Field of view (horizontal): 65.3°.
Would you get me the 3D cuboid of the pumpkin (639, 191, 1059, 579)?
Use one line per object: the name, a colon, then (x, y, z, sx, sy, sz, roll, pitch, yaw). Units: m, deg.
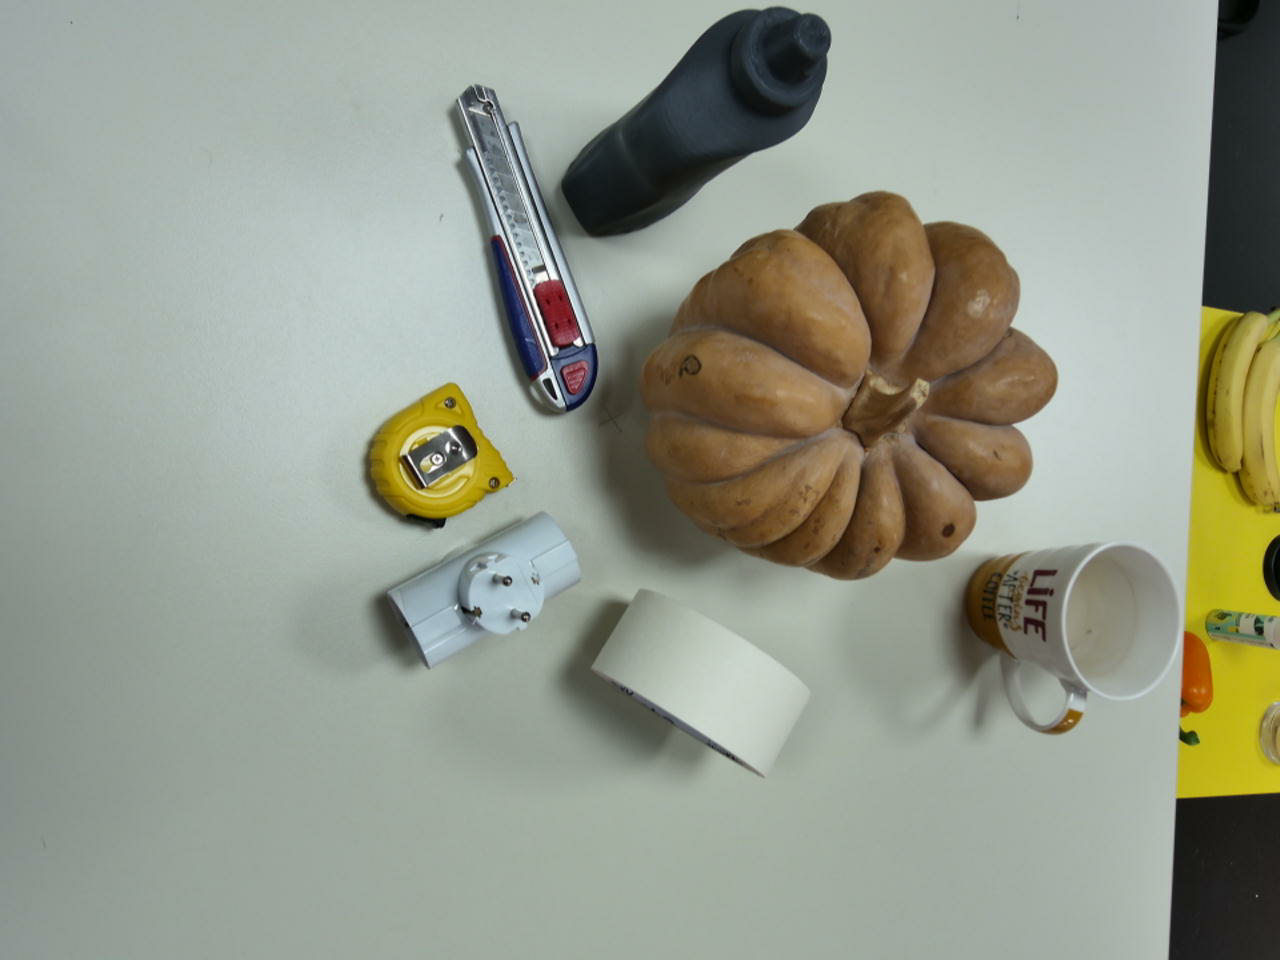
pumpkin: (0.099, -0.044, 0.518, 0.198, 0.177, 0.198, 0, 90, -22)
